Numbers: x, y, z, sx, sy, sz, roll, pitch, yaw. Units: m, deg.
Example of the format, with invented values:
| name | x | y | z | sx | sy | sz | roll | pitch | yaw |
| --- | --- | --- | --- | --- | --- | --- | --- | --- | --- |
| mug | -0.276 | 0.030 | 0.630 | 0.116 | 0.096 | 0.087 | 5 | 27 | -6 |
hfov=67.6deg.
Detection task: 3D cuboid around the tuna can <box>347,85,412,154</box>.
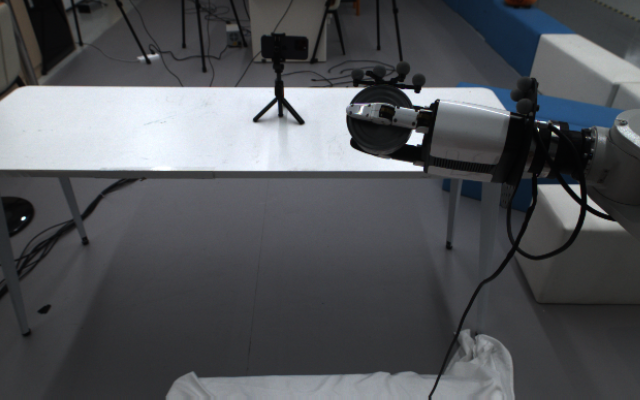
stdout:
| name | x | y | z | sx | sy | sz | roll | pitch | yaw |
| --- | --- | --- | --- | --- | --- | --- | --- | --- | --- |
| tuna can | 0.078 | -0.106 | 0.623 | 0.085 | 0.085 | 0.034 | 11 | -6 | 12 |
